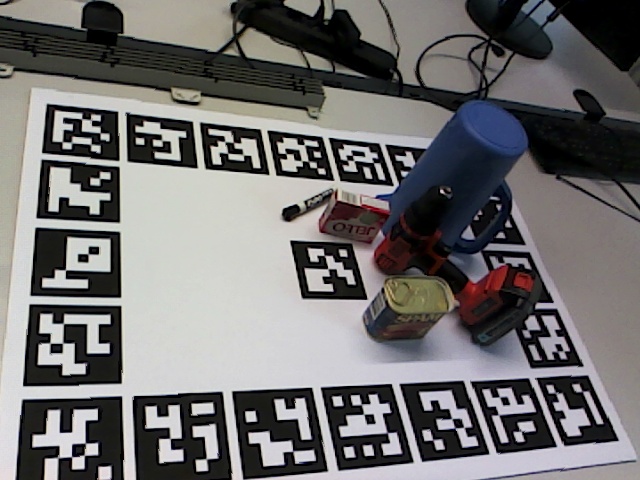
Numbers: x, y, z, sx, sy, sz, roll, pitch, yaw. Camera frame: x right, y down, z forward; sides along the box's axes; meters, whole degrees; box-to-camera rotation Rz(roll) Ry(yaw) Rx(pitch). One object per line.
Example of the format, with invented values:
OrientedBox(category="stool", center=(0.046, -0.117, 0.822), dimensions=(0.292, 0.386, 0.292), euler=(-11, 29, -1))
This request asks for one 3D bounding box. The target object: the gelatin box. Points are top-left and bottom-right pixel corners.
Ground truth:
OrientedBox(category="gelatin box", center=(0.062, -0.030, 0.940), dimensions=(0.089, 0.073, 0.030), euler=(13, 54, -17))

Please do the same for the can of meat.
OrientedBox(category="can of meat", center=(0.120, 0.100, 0.853), dimensions=(0.101, 0.084, 0.058), euler=(3, 52, -23))

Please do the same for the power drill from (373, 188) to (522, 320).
OrientedBox(category="power drill", center=(0.187, 0.024, 0.880), dimensions=(0.187, 0.185, 0.057), euler=(35, 51, -4))

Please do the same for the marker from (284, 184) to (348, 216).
OrientedBox(category="marker", center=(-0.006, -0.063, 0.968), dimensions=(0.120, 0.019, 0.020), euler=(-24, 67, -35))

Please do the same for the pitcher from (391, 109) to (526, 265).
OrientedBox(category="pitcher", center=(0.220, -0.071, 0.938), dimensions=(0.189, 0.242, 0.133), euler=(25, 51, 4))
